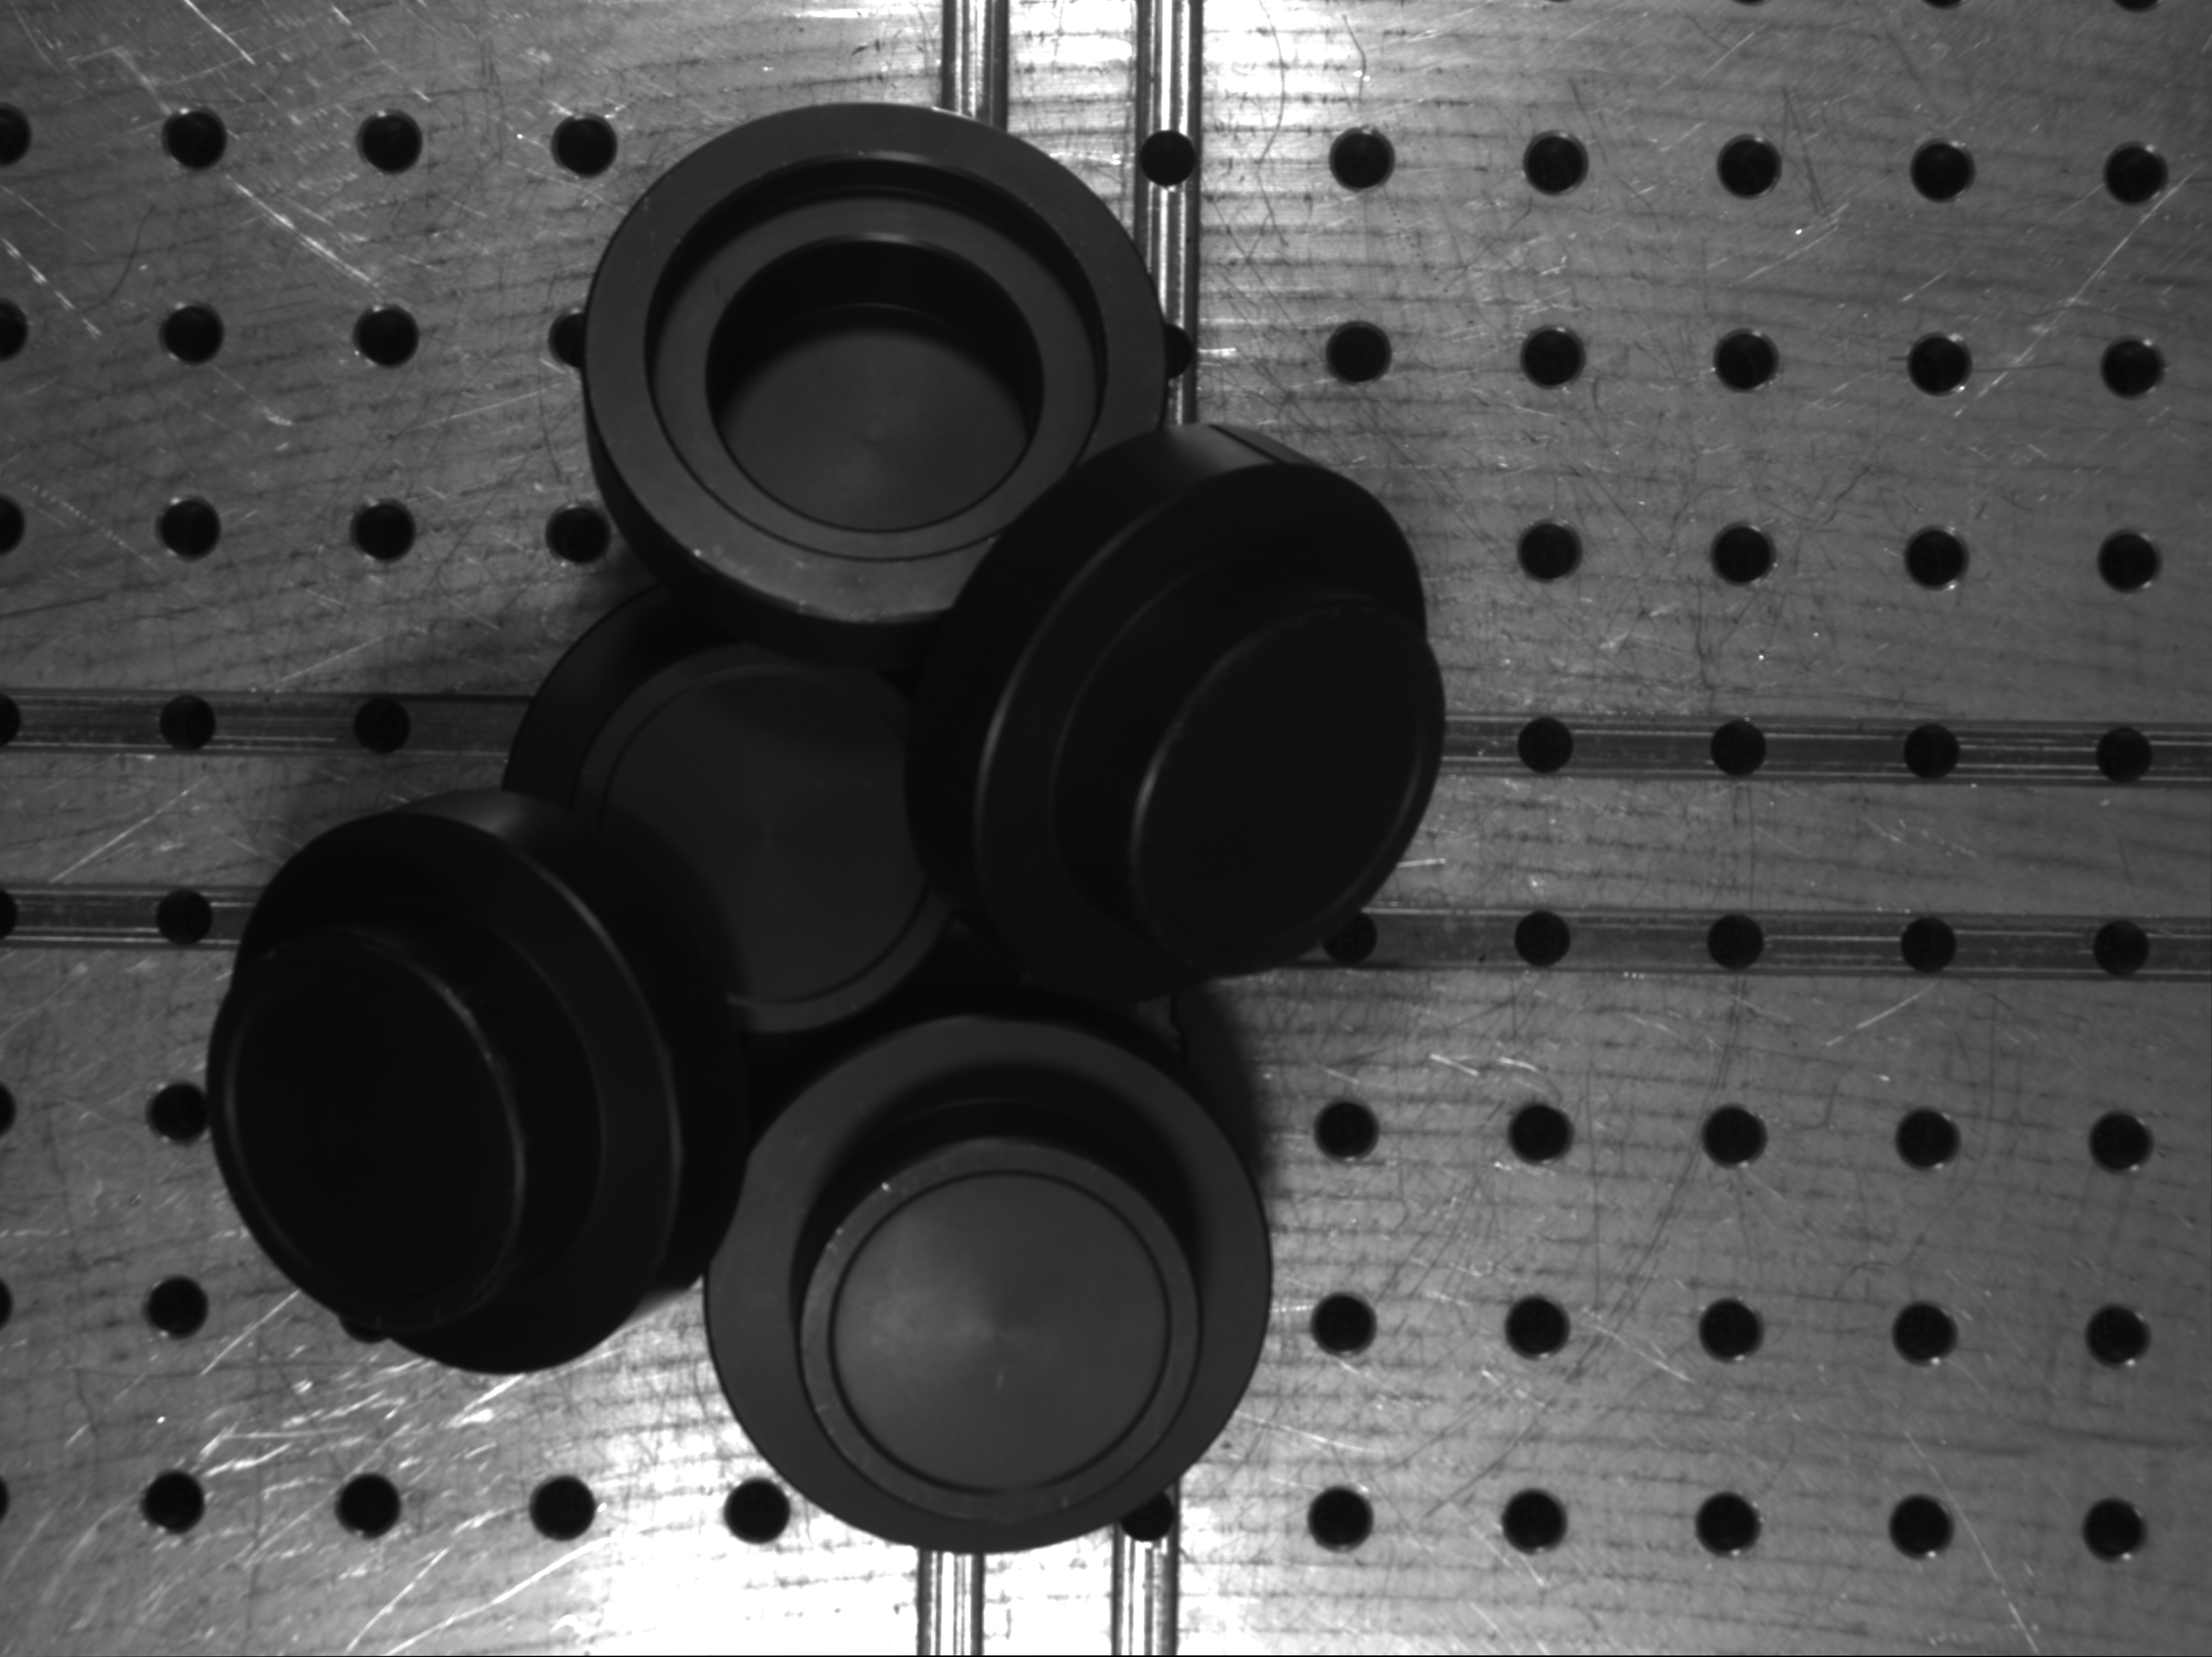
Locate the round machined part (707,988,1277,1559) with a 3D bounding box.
[{"bbox_3d":[-0.019,0.079,0.626,0.098,0.042,0.098,-1,102,-6],"label":"round machined part"}]

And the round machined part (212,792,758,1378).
[{"bbox_3d":[-0.110,0.046,0.614,0.098,0.042,0.098,8,106,28],"label":"round machined part"}]

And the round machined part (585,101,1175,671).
[{"bbox_3d":[-0.039,-0.071,0.627,0.098,0.042,0.098,2,69,-5],"label":"round machined part"}]

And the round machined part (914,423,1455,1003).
[{"bbox_3d":[0.019,-0.014,0.610,0.042,0.098,0.098,34,90,41],"label":"round machined part"}]

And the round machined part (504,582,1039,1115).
[{"bbox_3d":[-0.057,0.001,0.637,0.098,0.042,0.098,0,90,0],"label":"round machined part"}]
